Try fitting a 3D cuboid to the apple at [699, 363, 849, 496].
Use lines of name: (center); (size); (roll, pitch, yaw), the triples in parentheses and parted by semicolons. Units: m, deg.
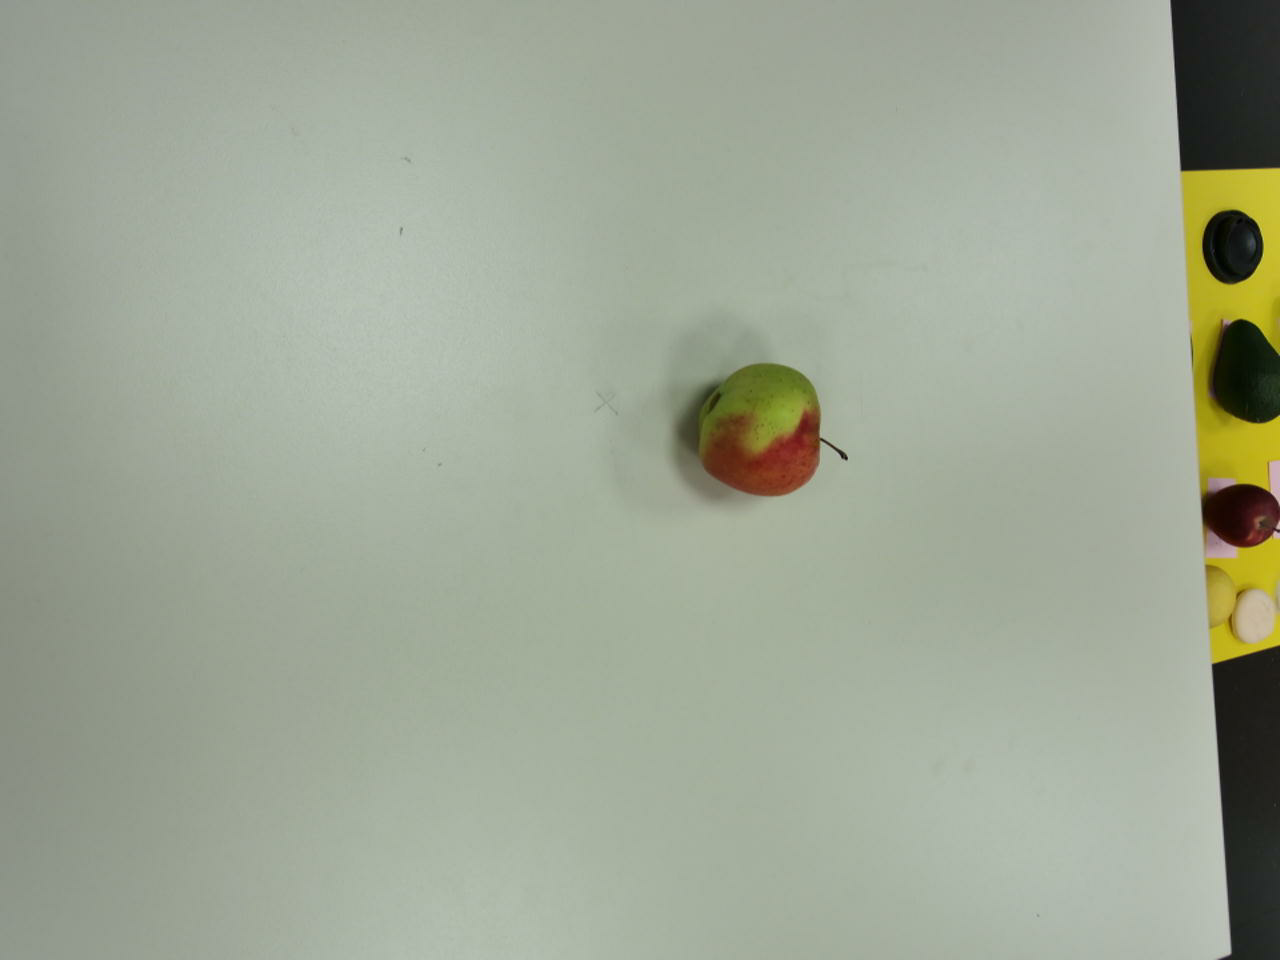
apple: (0.068, -0.027, 0.562); (0.075, 0.074, 0.075); (-27, 100, -20)
